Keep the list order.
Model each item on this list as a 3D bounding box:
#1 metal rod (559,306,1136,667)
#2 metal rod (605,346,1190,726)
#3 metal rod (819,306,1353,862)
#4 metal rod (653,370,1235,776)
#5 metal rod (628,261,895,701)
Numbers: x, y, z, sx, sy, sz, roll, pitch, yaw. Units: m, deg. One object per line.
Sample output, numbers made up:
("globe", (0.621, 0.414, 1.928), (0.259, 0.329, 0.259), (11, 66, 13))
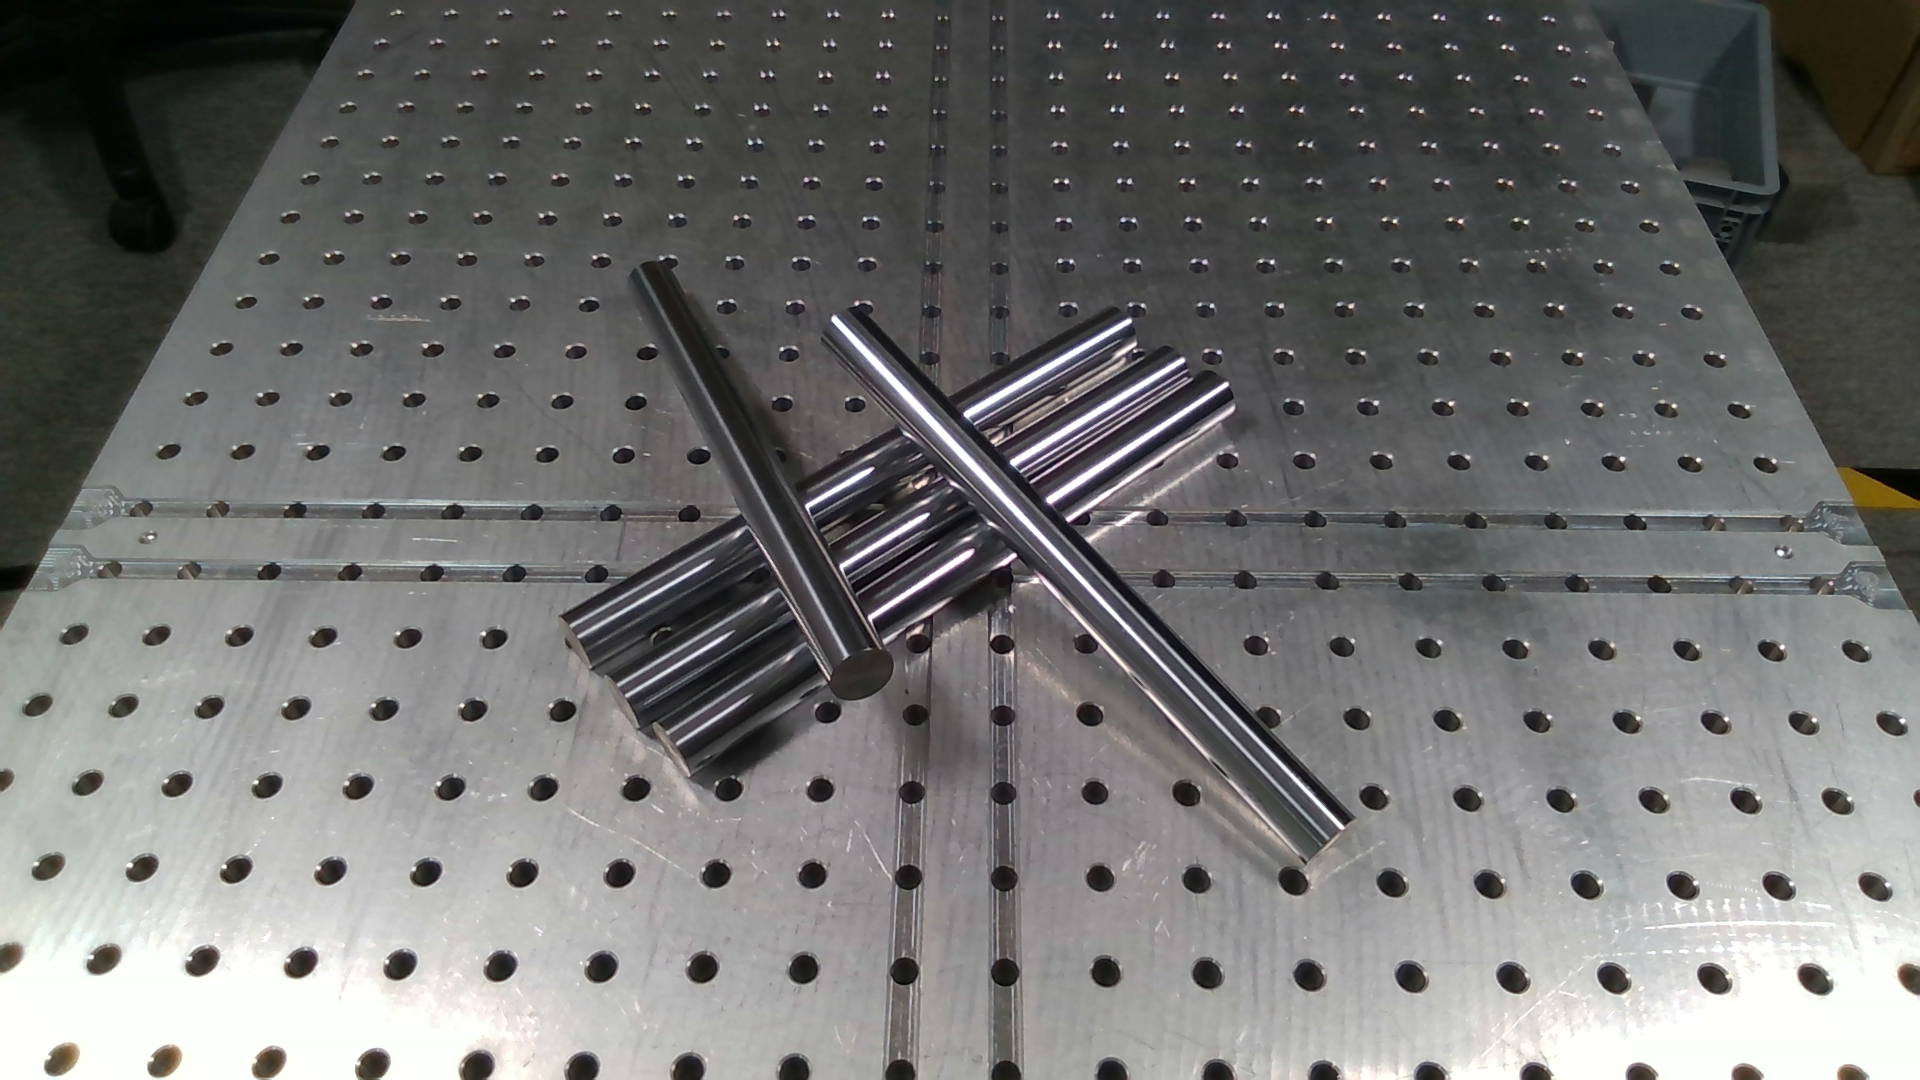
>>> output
("metal rod", (-0.039, -0.031, 0.616), (0.300, 0.025, 0.025), (-32, 57, -24))
("metal rod", (-0.015, -0.010, 0.598), (0.300, 0.025, 0.025), (-32, 57, -24))
("metal rod", (0.040, 0.007, 0.558), (0.025, 0.025, 0.299), (-32, 65, -24))
("metal rod", (0.005, 0.005, 0.585), (0.300, 0.025, 0.025), (-33, 57, -24))
("metal rod", (-0.096, -0.041, 0.597), (0.025, 0.025, 0.299), (-19, 44, -15))
